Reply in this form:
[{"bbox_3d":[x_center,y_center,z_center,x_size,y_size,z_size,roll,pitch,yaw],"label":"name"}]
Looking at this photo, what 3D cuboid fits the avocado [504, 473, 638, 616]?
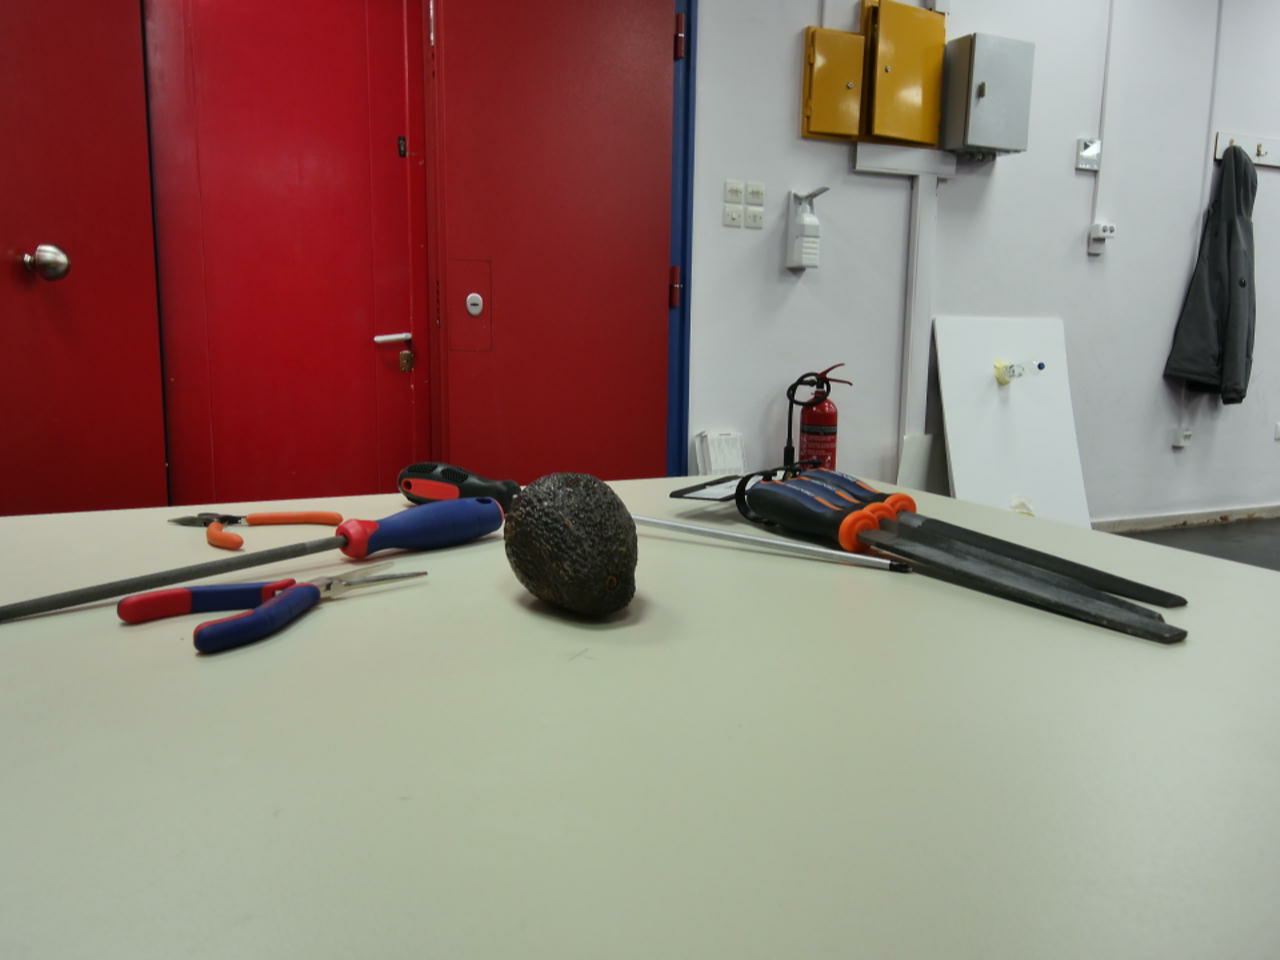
[{"bbox_3d":[-0.037,0.031,0.519,0.070,0.069,0.090,0,6,0],"label":"avocado"}]
